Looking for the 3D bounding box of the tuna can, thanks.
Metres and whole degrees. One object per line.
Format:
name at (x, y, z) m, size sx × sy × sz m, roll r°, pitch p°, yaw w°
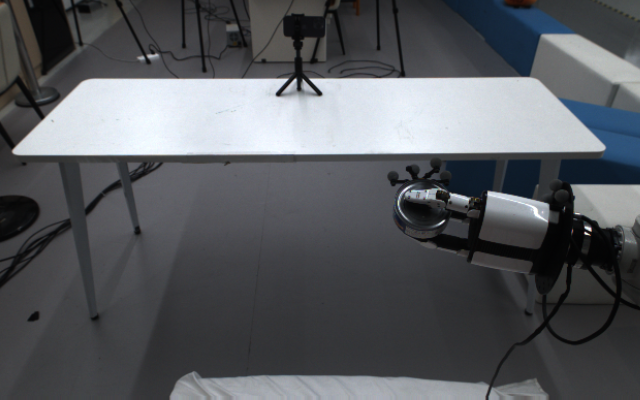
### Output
tuna can at (0.151, 0.012, 0.715) m, size 0.085 × 0.034 × 0.085 m, roll -2°, pitch 58°, yaw 3°
